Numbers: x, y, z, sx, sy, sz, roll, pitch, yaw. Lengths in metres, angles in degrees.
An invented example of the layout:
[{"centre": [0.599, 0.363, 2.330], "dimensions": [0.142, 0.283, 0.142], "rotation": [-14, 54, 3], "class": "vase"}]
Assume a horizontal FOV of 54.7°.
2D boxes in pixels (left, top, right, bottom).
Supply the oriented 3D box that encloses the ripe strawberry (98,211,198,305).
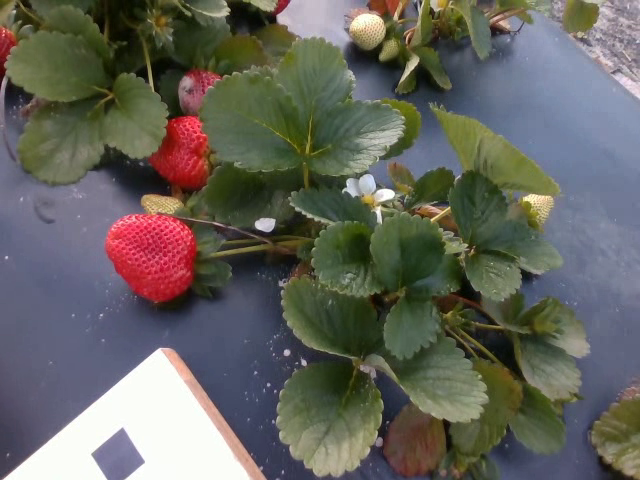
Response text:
[{"centre": [-0.046, 0.004, 0.158], "dimensions": [0.022, 0.025, 0.030], "rotation": [30, 1, 39], "class": "ripe strawberry"}]
